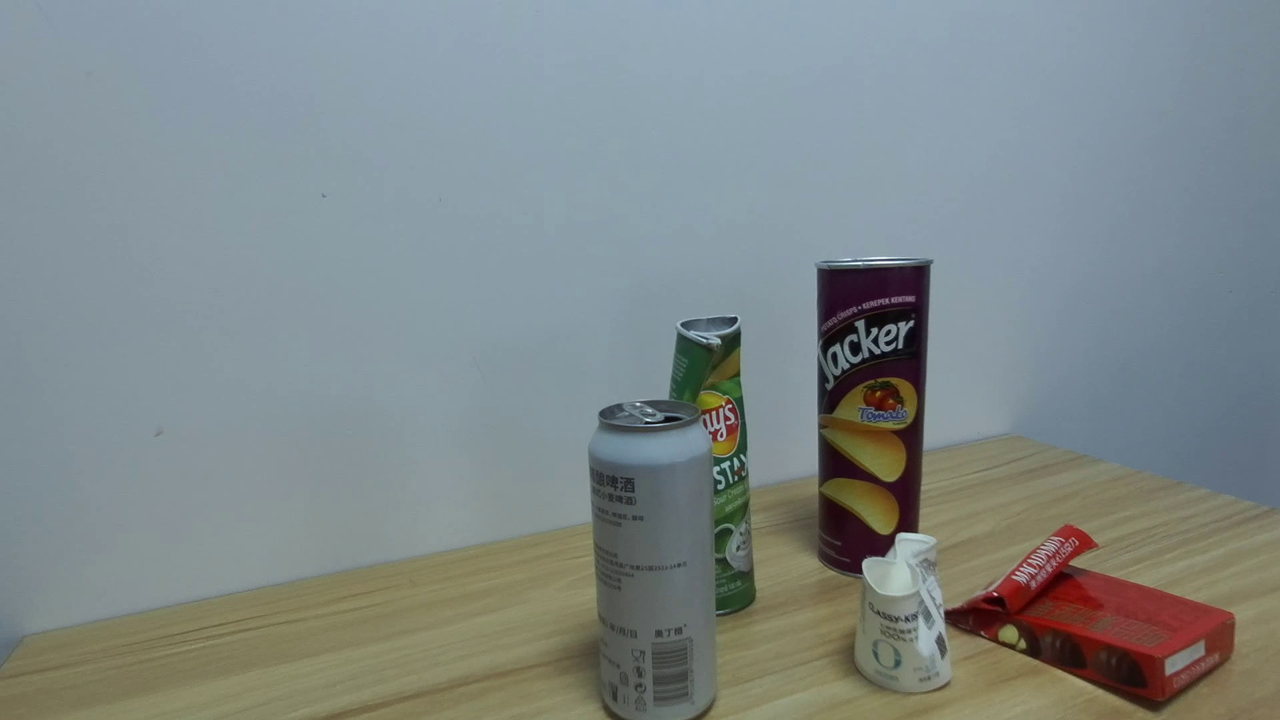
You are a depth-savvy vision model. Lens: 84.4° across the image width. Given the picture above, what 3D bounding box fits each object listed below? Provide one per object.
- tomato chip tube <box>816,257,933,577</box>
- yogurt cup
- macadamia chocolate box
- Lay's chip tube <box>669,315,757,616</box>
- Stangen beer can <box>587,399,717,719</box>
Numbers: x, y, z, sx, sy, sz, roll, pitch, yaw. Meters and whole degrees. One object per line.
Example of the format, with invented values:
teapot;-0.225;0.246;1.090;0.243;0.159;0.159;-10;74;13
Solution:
tomato chip tube;0.177;0.042;0.538;0.080;0.234;0.077;4;12;33
yogurt cup;0.154;0.147;0.413;0.053;0.071;0.075;0;12;7
macadamia chocolate box;0.275;0.158;0.438;0.112;0.056;0.126;-24;21;-24
Lay's chip tube;0.047;0.072;0.495;0.069;0.201;0.077;-4;14;-7
Stangen beer can;0.008;0.110;0.387;0.067;0.171;0.067;-3;10;1
